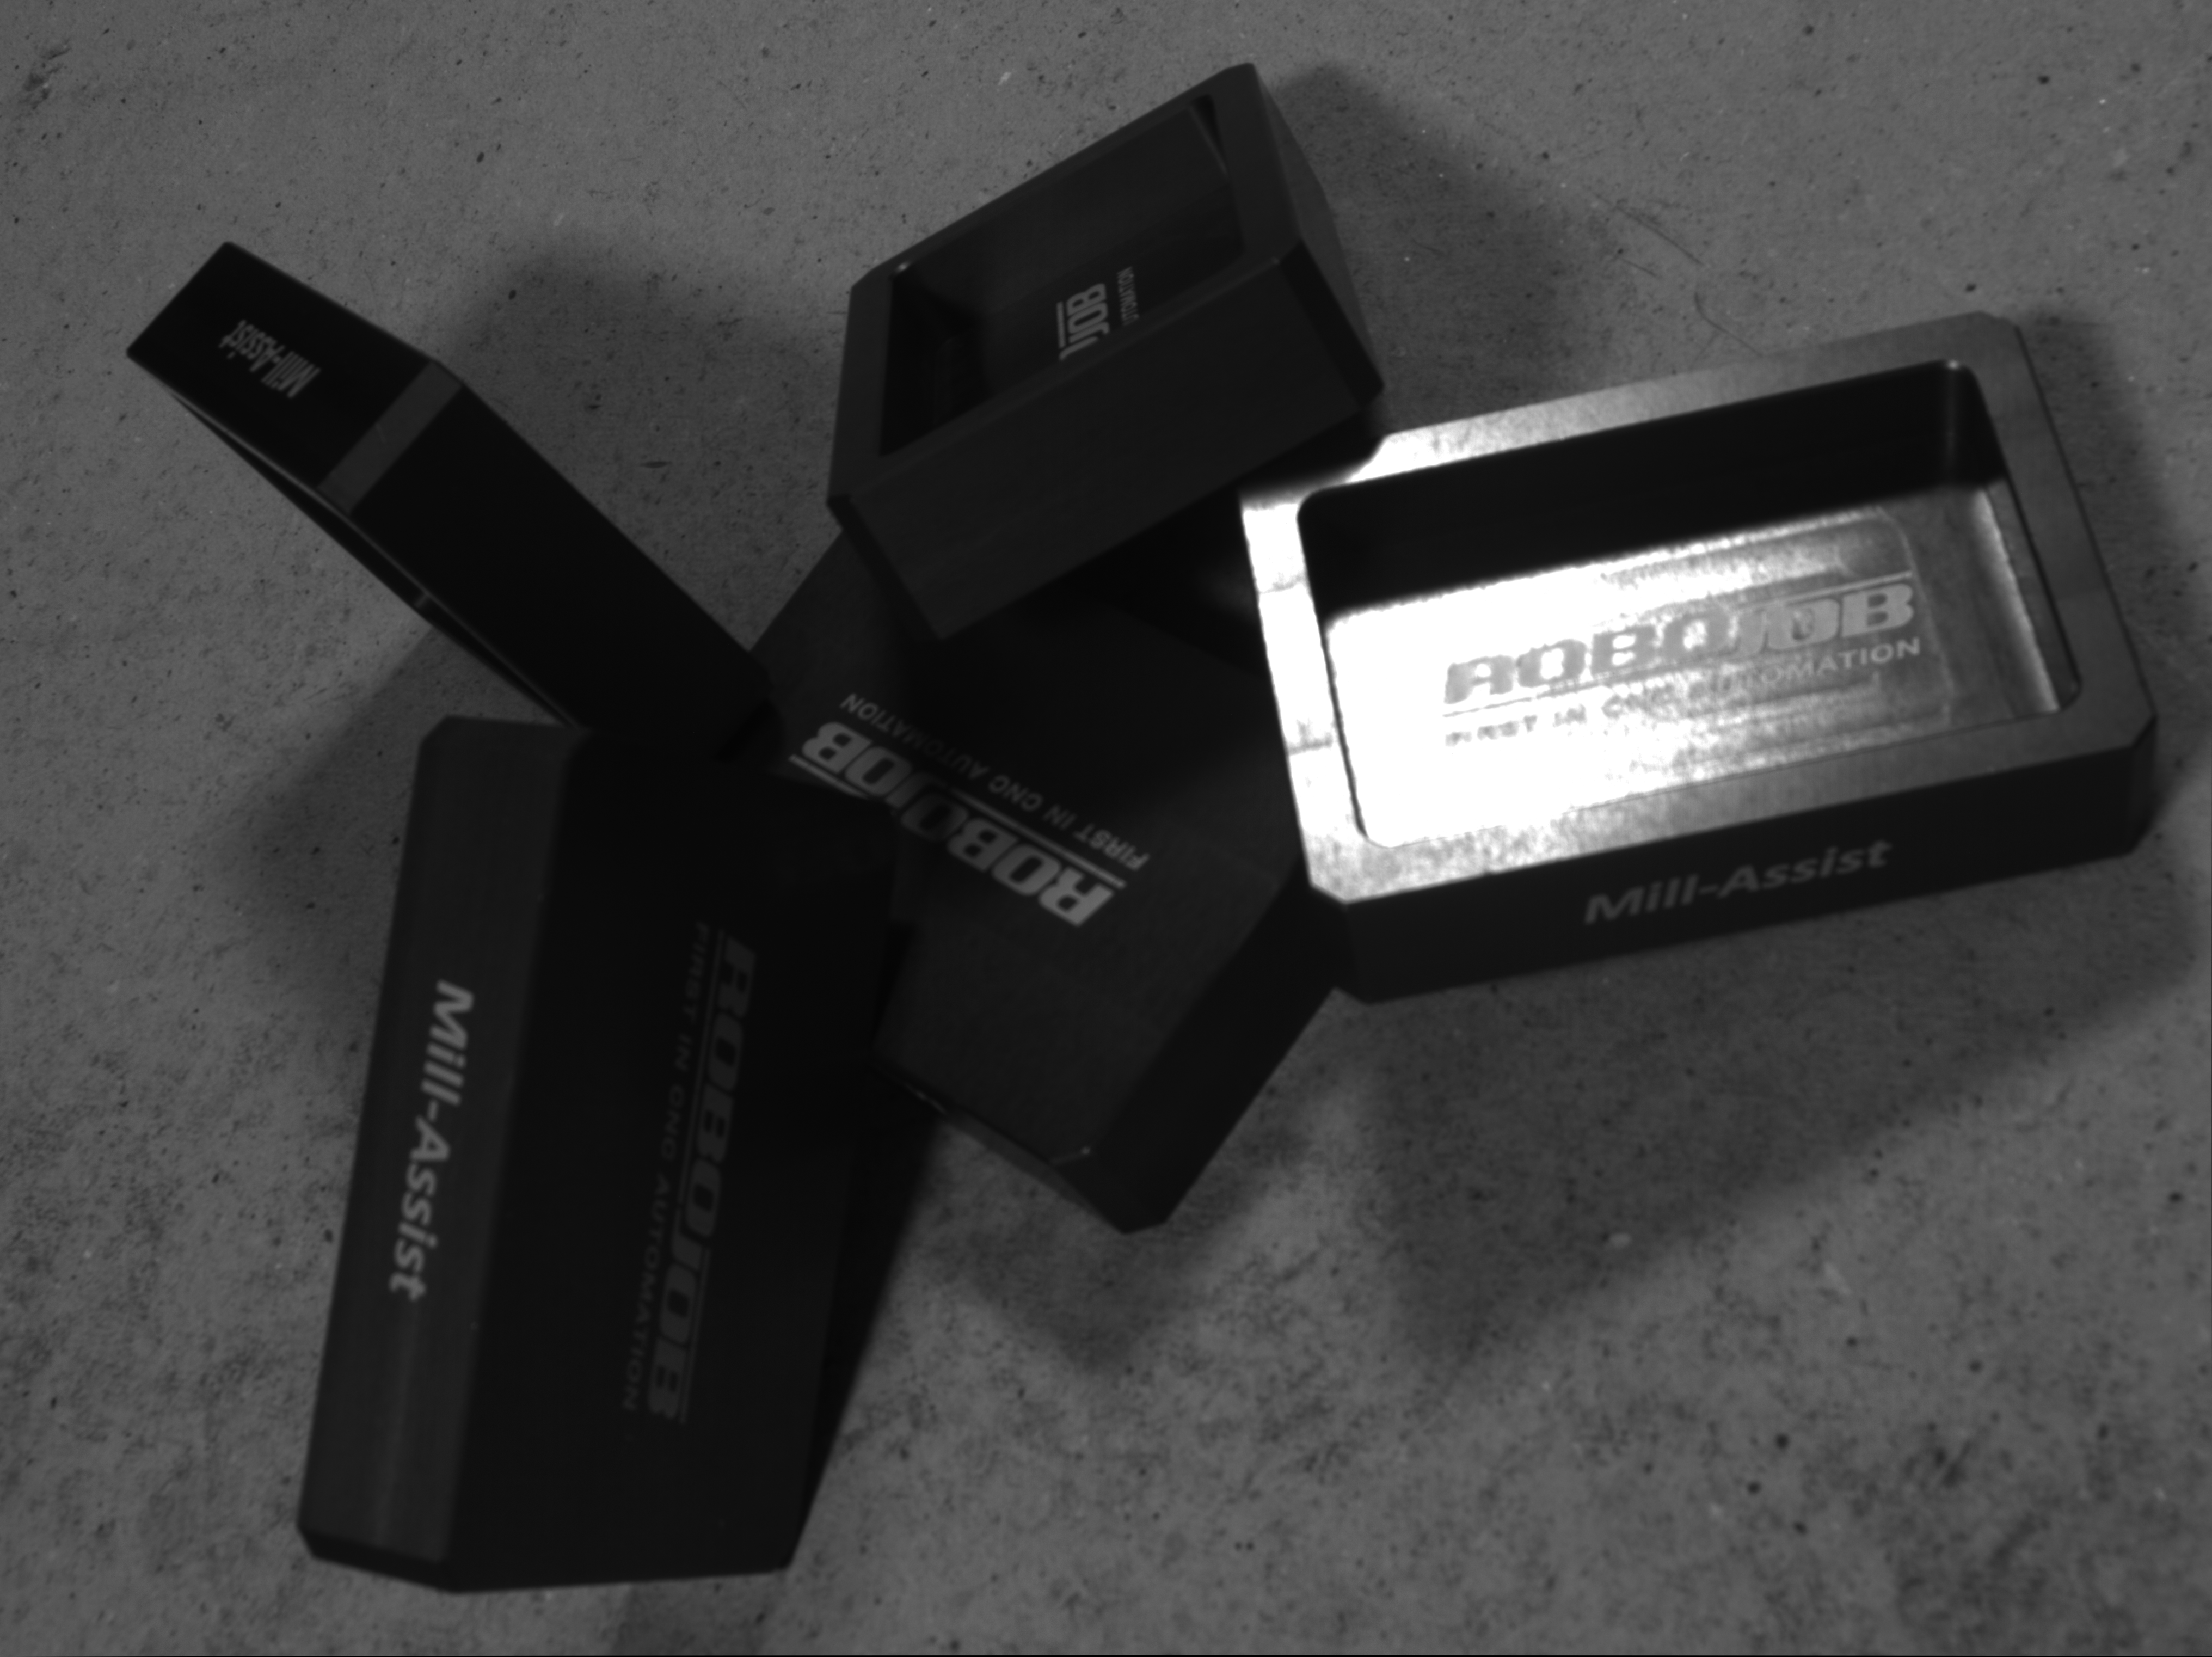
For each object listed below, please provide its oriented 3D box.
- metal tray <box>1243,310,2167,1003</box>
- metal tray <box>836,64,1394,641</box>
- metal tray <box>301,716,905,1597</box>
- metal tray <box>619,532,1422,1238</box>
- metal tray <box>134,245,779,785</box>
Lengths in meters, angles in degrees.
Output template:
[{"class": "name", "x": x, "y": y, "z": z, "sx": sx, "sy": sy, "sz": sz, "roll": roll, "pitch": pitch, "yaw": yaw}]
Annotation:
[{"class": "metal tray", "x": 0.093, "y": -0.028, "z": 0.587, "sx": 0.130, "sy": 0.030, "sz": 0.090, "roll": -11, "pitch": 55, "yaw": 4}, {"class": "metal tray", "x": -0.001, "y": -0.089, "z": 0.658, "sx": 0.090, "sy": 0.030, "sz": 0.130, "roll": -28, "pitch": 23, "yaw": 11}, {"class": "metal tray", "x": -0.078, "y": 0.054, "z": 0.586, "sx": 0.030, "sy": 0.090, "sz": 0.130, "roll": 5, "pitch": 85, "yaw": 31}, {"class": "metal tray", "x": -0.017, "y": 0.004, "z": 0.648, "sx": 0.130, "sy": 0.030, "sz": 0.090, "roll": 29, "pitch": 77, "yaw": 38}, {"class": "metal tray", "x": -0.124, "y": -0.058, "z": 0.685, "sx": 0.030, "sy": 0.090, "sz": 0.130, "roll": -49, "pitch": 34, "yaw": -6}]
